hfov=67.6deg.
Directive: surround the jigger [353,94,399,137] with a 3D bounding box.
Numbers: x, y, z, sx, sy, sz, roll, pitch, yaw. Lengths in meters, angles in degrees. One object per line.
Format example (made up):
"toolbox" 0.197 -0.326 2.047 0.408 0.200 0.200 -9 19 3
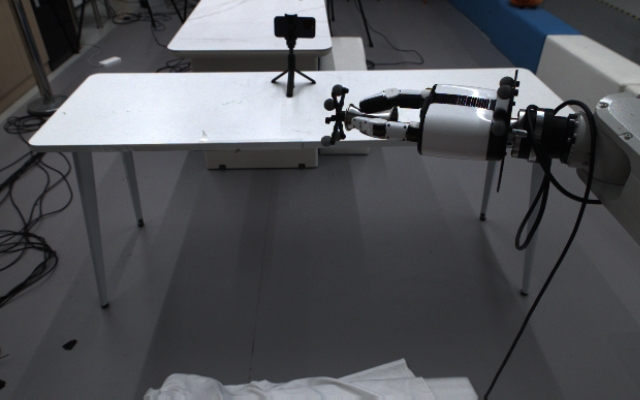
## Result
"jigger" 0.080 -0.119 0.699 0.071 0.043 0.043 10 35 22
